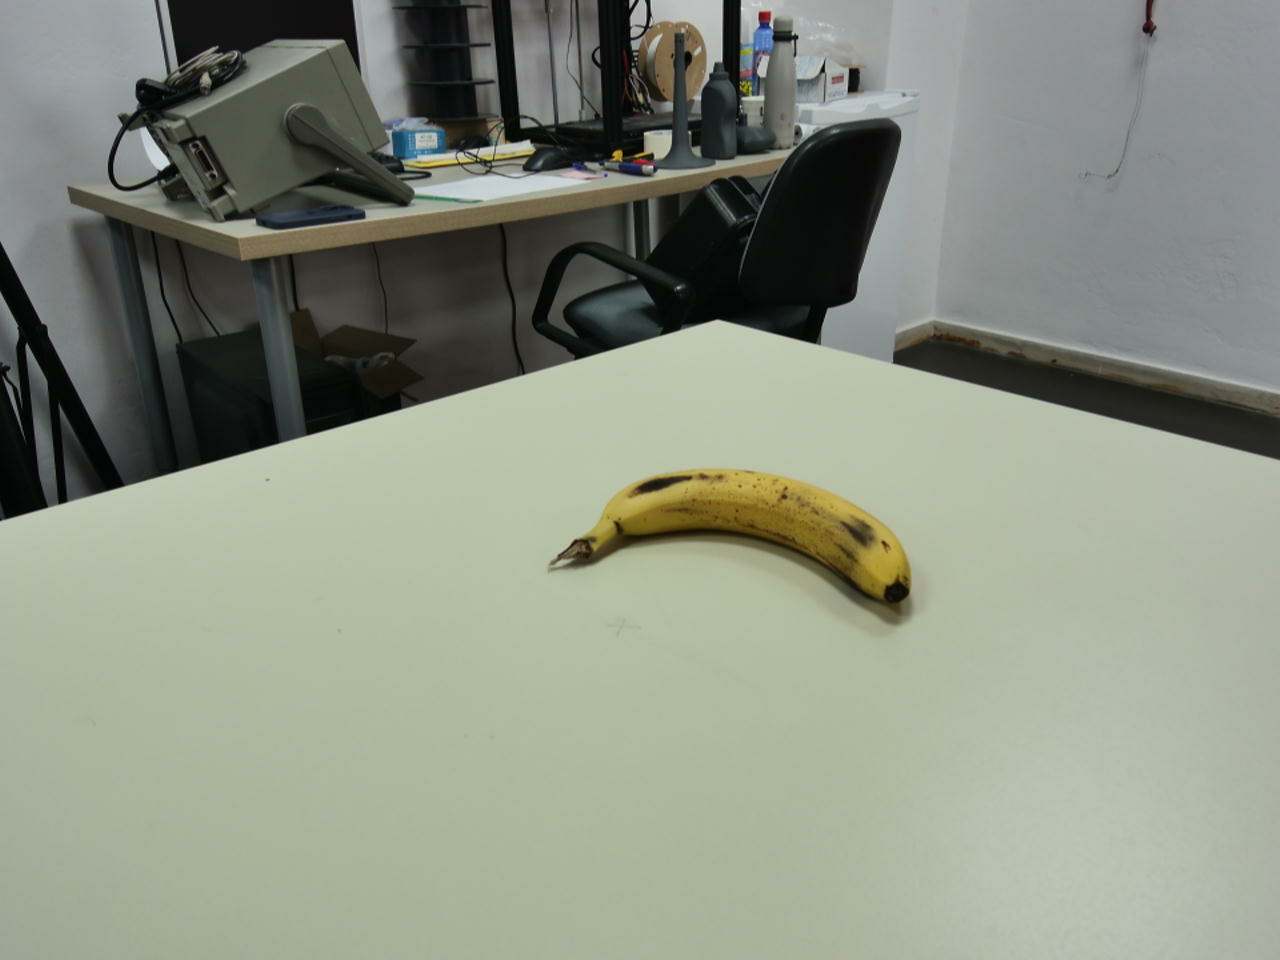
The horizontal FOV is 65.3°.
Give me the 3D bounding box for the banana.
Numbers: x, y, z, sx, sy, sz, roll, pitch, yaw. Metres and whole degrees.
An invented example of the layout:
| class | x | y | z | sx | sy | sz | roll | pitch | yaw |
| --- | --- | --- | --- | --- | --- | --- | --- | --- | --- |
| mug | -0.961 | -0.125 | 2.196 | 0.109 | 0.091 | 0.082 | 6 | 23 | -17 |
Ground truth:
| class | x | y | z | sx | sy | sz | roll | pitch | yaw |
| --- | --- | --- | --- | --- | --- | --- | --- | --- | --- |
| banana | 0.060 | 0.027 | 0.558 | 0.186 | 0.038 | 0.097 | 8 | 25 | 19 |
